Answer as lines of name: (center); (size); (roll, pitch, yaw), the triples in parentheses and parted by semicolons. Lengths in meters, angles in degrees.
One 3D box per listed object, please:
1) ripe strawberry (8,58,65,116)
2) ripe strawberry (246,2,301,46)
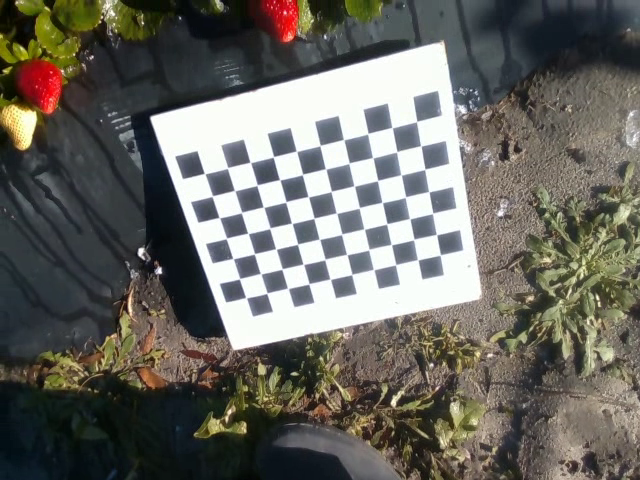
ripe strawberry: (-0.255, -0.136, 0.500); (0.042, 0.061, 0.046); (-27, -23, 10)
ripe strawberry: (-0.037, -0.197, 0.469); (0.048, 0.061, 0.044); (-19, -12, 7)
